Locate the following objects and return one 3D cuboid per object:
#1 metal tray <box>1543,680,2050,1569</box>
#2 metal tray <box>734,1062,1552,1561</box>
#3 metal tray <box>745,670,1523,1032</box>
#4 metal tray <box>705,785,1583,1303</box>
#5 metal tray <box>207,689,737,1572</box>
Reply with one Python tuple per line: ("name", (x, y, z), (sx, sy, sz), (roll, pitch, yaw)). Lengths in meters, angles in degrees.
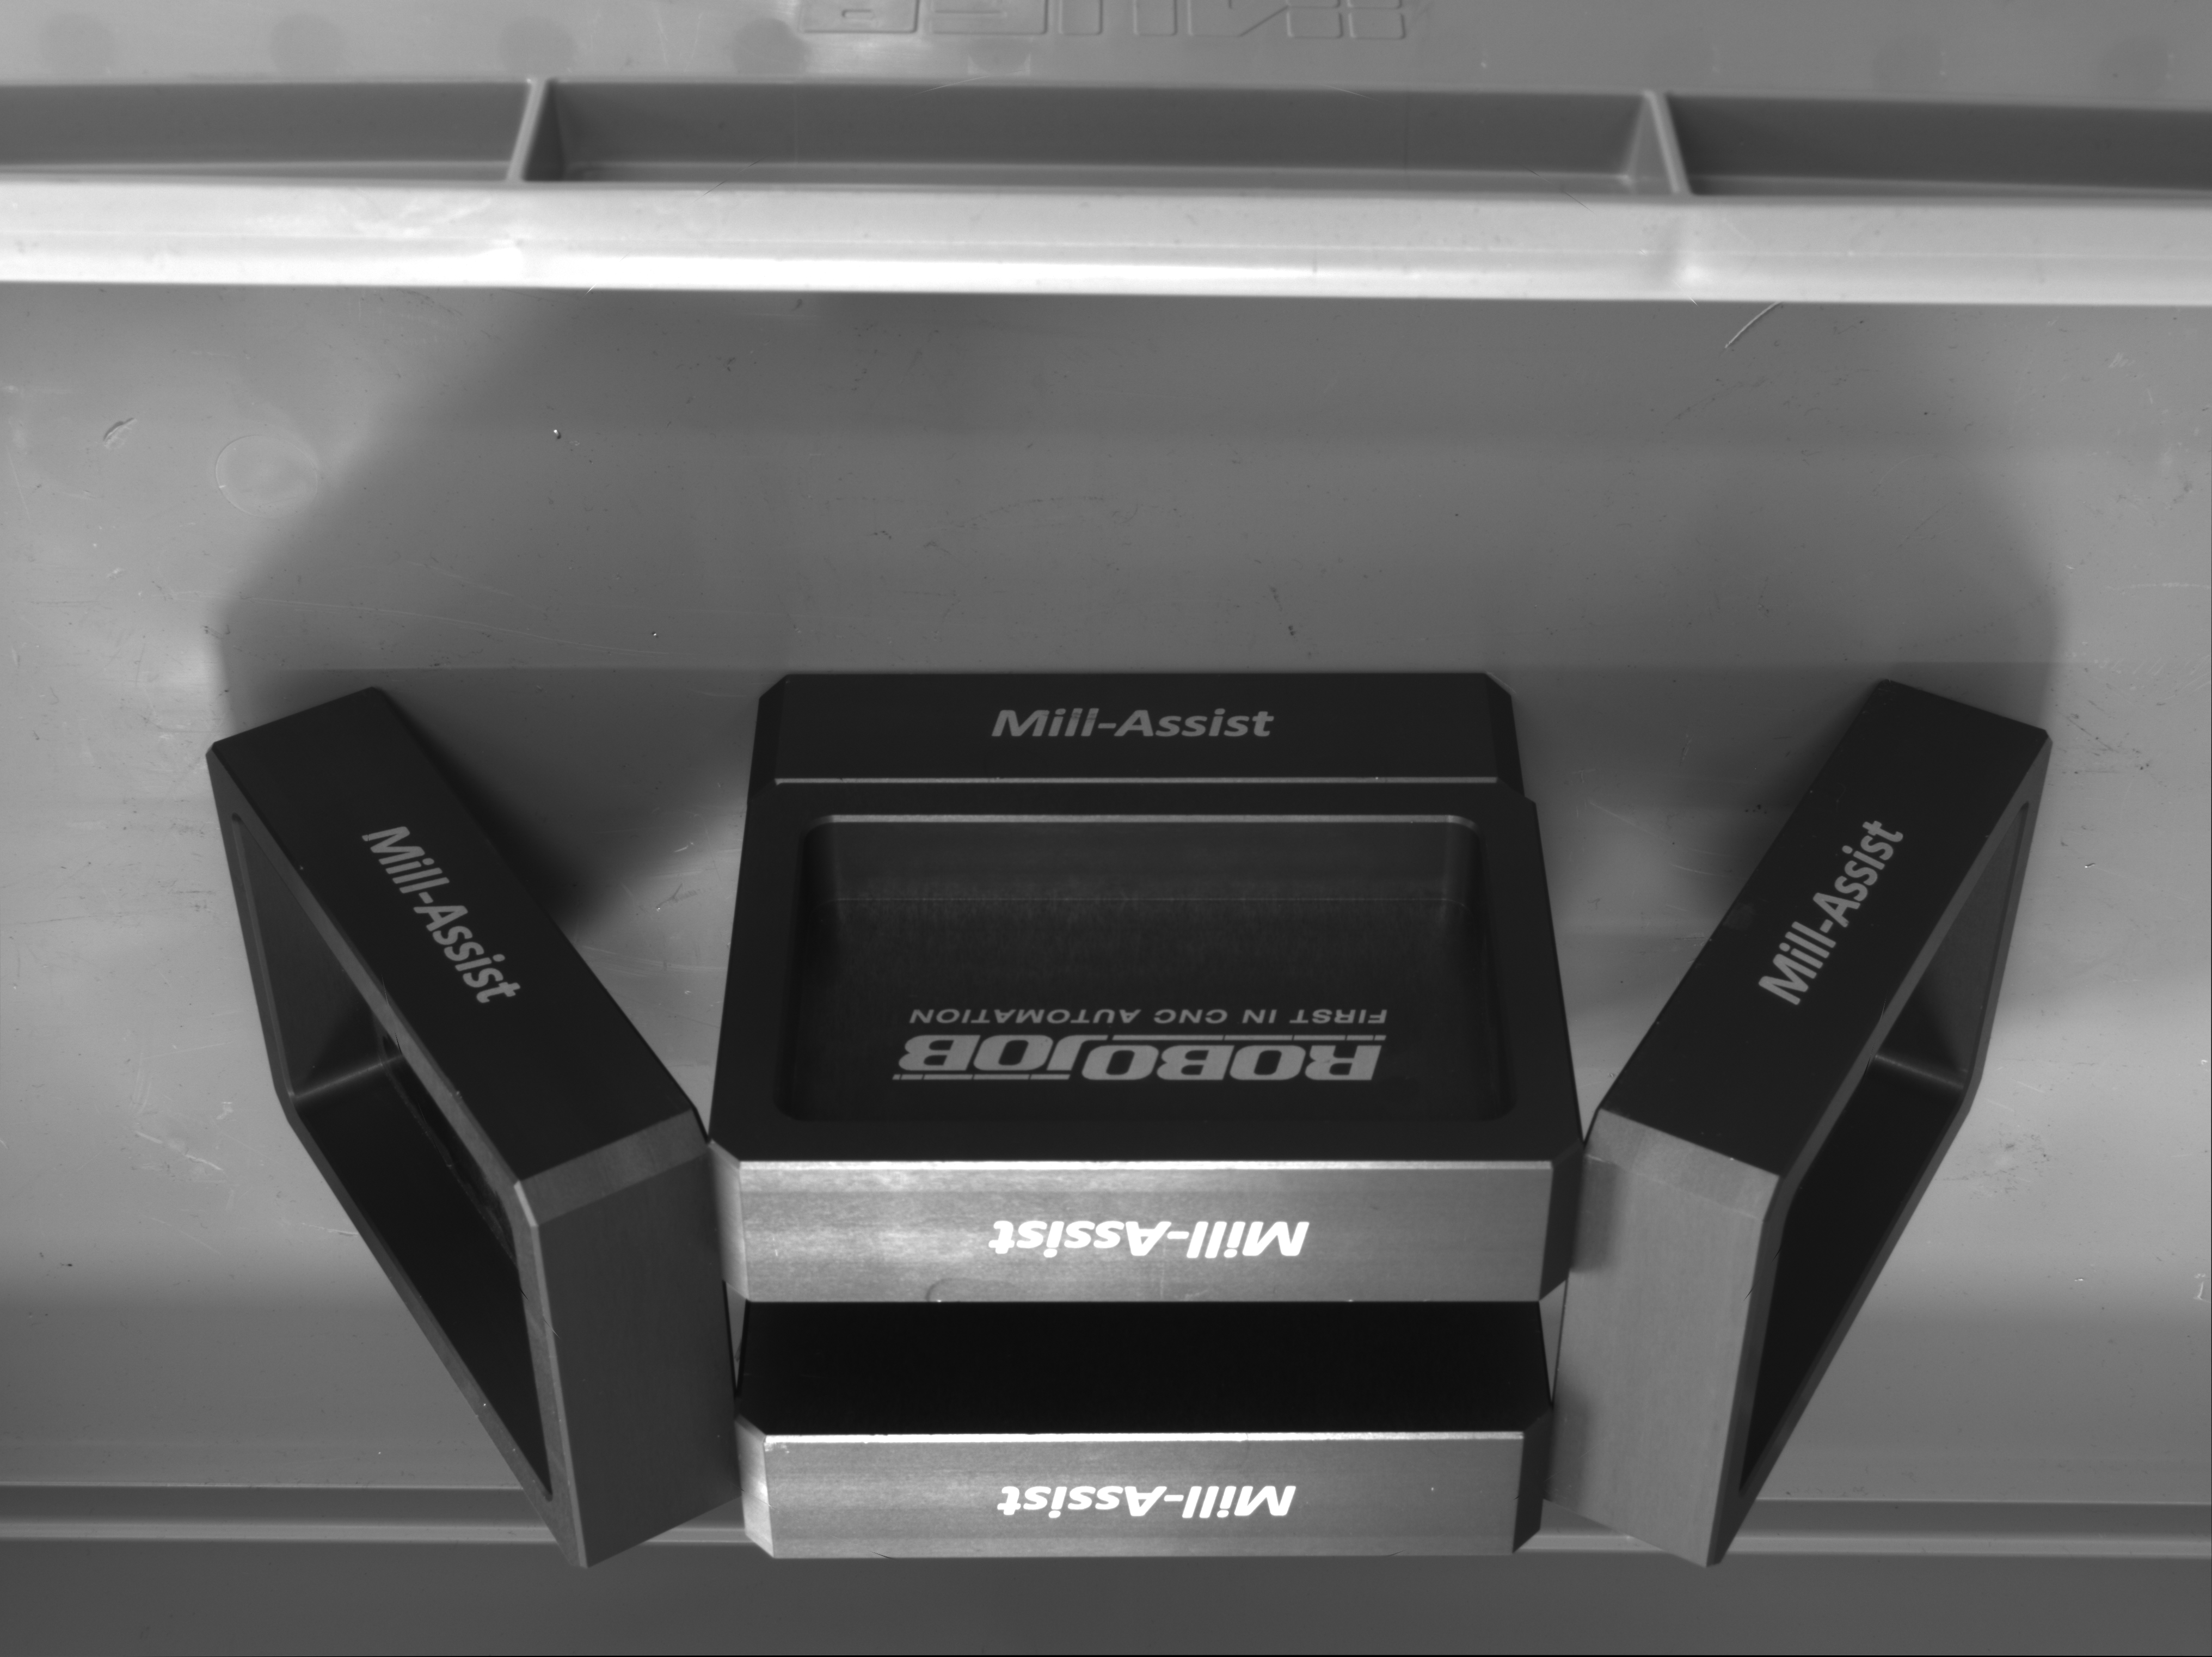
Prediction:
("metal tray", (0.116, 0.047, 0.611), (0.030, 0.130, 0.090), (20, 134, 22))
("metal tray", (0.006, 0.079, 0.622), (0.130, 0.090, 0.030), (0, 130, 0))
("metal tray", (0.005, 0.017, 0.649), (0.130, 0.030, 0.090), (-1, 130, 0))
("metal tray", (0.006, 0.033, 0.582), (0.130, 0.090, 0.030), (0, 130, 0))
("metal tray", (-0.106, 0.048, 0.611), (0.030, 0.130, 0.090), (-22, 135, -24))
